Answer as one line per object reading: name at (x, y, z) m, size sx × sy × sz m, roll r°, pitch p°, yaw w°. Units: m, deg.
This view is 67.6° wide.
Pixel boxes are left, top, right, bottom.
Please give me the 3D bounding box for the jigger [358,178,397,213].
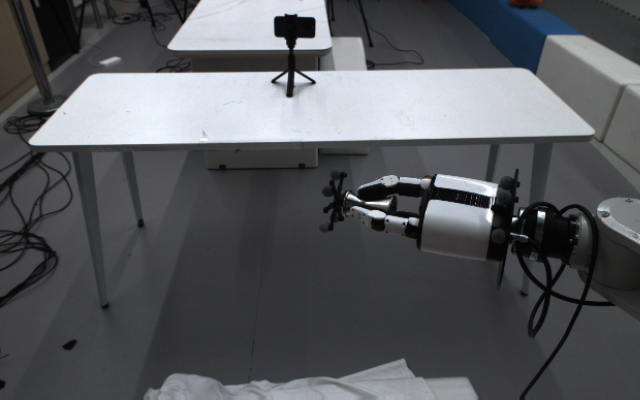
jigger at (0.077, 0.007, 0.691) m, size 0.071 × 0.043 × 0.043 m, roll 10°, pitch 35°, yaw 22°
